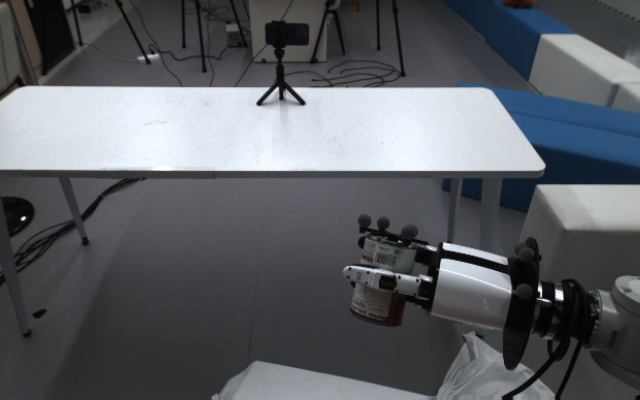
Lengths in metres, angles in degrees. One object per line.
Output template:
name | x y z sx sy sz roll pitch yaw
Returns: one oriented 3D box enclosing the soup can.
soup can | 0.083 0.099 0.612 0.067 0.101 0.067 12 2 0
